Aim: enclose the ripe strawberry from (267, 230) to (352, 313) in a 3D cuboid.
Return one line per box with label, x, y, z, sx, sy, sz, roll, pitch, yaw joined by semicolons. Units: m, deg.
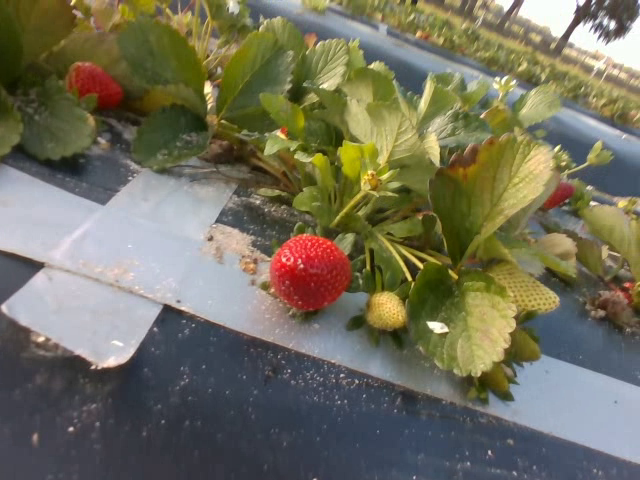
ripe strawberry;-0.003;0.006;0.130;0.023;0.020;0.026;7;4;15
